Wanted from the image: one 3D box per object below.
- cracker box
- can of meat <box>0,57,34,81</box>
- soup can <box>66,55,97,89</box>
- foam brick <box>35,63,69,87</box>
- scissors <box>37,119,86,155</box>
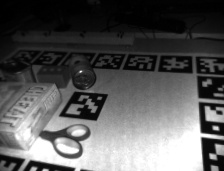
[{"bbox_3d":[-0.263,0.059,0.518,0.212,0.072,0.164,-3,39,12],"label":"cracker box"},{"bbox_3d":[-0.281,-0.029,0.637,0.101,0.084,0.058,13,45,24],"label":"can of meat"},{"bbox_3d":[-0.093,-0.044,0.652,0.068,0.068,0.101,-21,36,-14],"label":"soup can"},{"bbox_3d":[-0.179,-0.030,0.651,0.078,0.052,0.052,-4,41,6],"label":"foam brick"},{"bbox_3d":[-0.156,0.112,0.487,0.202,0.016,0.087,0,41,10],"label":"scissors"}]
